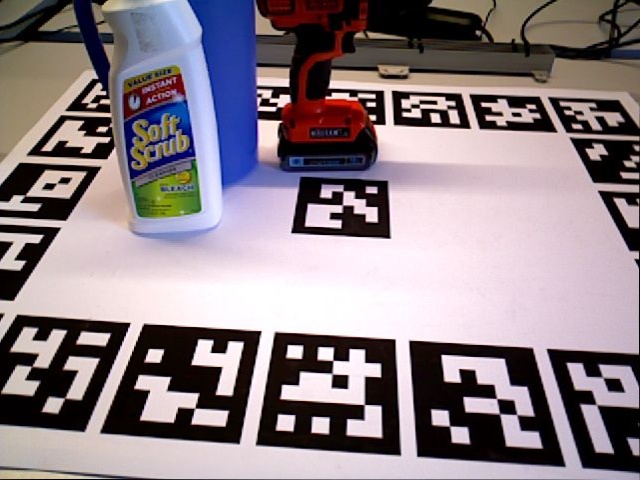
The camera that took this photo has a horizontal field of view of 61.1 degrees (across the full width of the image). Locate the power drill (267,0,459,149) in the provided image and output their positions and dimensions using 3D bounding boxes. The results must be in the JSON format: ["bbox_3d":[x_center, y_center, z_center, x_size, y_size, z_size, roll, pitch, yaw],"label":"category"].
[{"bbox_3d":[0.033,-0.186,0.561,0.183,0.191,0.056,2,46,-6],"label":"power drill"}]

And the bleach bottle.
[{"bbox_3d":[-0.148,-0.133,0.461,0.102,0.256,0.067,-3,44,-4],"label":"bleach bottle"}]

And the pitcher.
[{"bbox_3d":[-0.134,-0.186,0.547,0.186,0.248,0.132,-17,48,-17],"label":"pitcher"}]
